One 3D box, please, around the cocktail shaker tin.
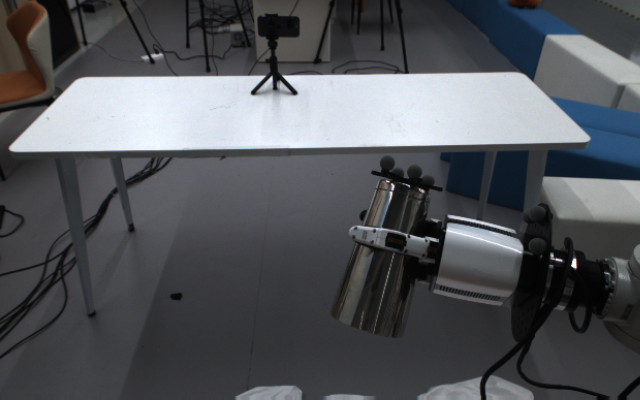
[{"bbox_3d":[0.081,0.067,0.582,0.093,0.170,0.093,16,-2,1],"label":"cocktail shaker tin"}]
